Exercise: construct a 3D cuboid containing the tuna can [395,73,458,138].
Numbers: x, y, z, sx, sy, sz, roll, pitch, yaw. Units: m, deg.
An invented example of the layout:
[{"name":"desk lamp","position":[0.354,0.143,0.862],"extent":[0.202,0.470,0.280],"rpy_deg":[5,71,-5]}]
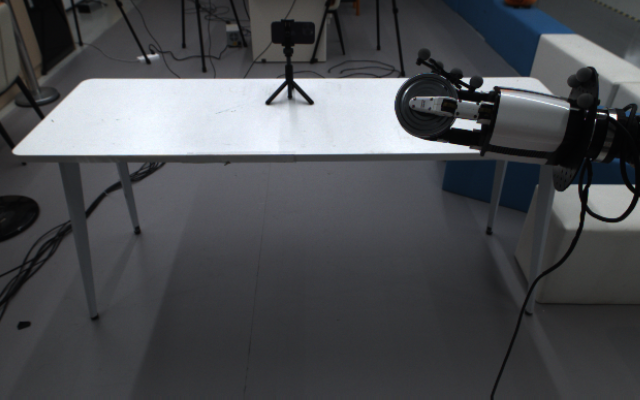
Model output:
[{"name":"tuna can","position":[0.149,-0.123,0.658],"extent":[0.085,0.085,0.034],"rpy_deg":[12,4,14]}]
